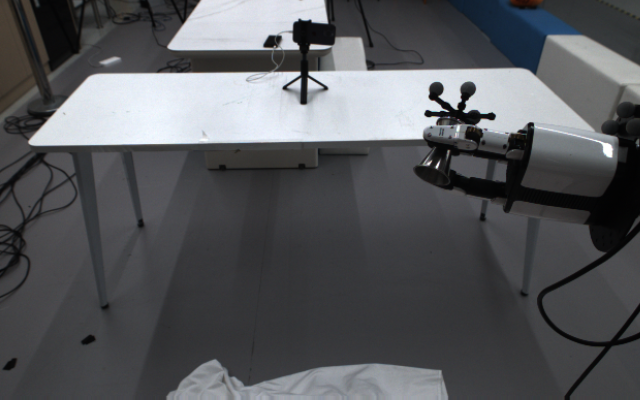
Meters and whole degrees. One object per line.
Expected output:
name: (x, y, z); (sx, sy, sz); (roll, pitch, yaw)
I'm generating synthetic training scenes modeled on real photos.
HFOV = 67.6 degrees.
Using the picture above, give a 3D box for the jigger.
jigger: (0.140, -0.058, 0.557); (0.043, 0.043, 0.071); (20, 73, 24)
